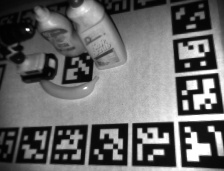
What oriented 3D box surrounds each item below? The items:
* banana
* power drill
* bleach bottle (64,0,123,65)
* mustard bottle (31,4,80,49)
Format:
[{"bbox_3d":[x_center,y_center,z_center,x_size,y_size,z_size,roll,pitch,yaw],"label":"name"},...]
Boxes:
[{"bbox_3d":[-0.142,-0.014,0.637,0.195,0.039,0.074,-3,75,20],"label":"banana"},{"bbox_3d":[-0.271,-0.112,0.610,0.183,0.189,0.057,-8,62,14],"label":"power drill"},{"bbox_3d":[-0.053,-0.136,0.542,0.102,0.253,0.067,-14,68,15],"label":"bleach bottle"},{"bbox_3d":[-0.167,-0.172,0.617,0.095,0.193,0.058,-5,70,17],"label":"mustard bottle"}]
